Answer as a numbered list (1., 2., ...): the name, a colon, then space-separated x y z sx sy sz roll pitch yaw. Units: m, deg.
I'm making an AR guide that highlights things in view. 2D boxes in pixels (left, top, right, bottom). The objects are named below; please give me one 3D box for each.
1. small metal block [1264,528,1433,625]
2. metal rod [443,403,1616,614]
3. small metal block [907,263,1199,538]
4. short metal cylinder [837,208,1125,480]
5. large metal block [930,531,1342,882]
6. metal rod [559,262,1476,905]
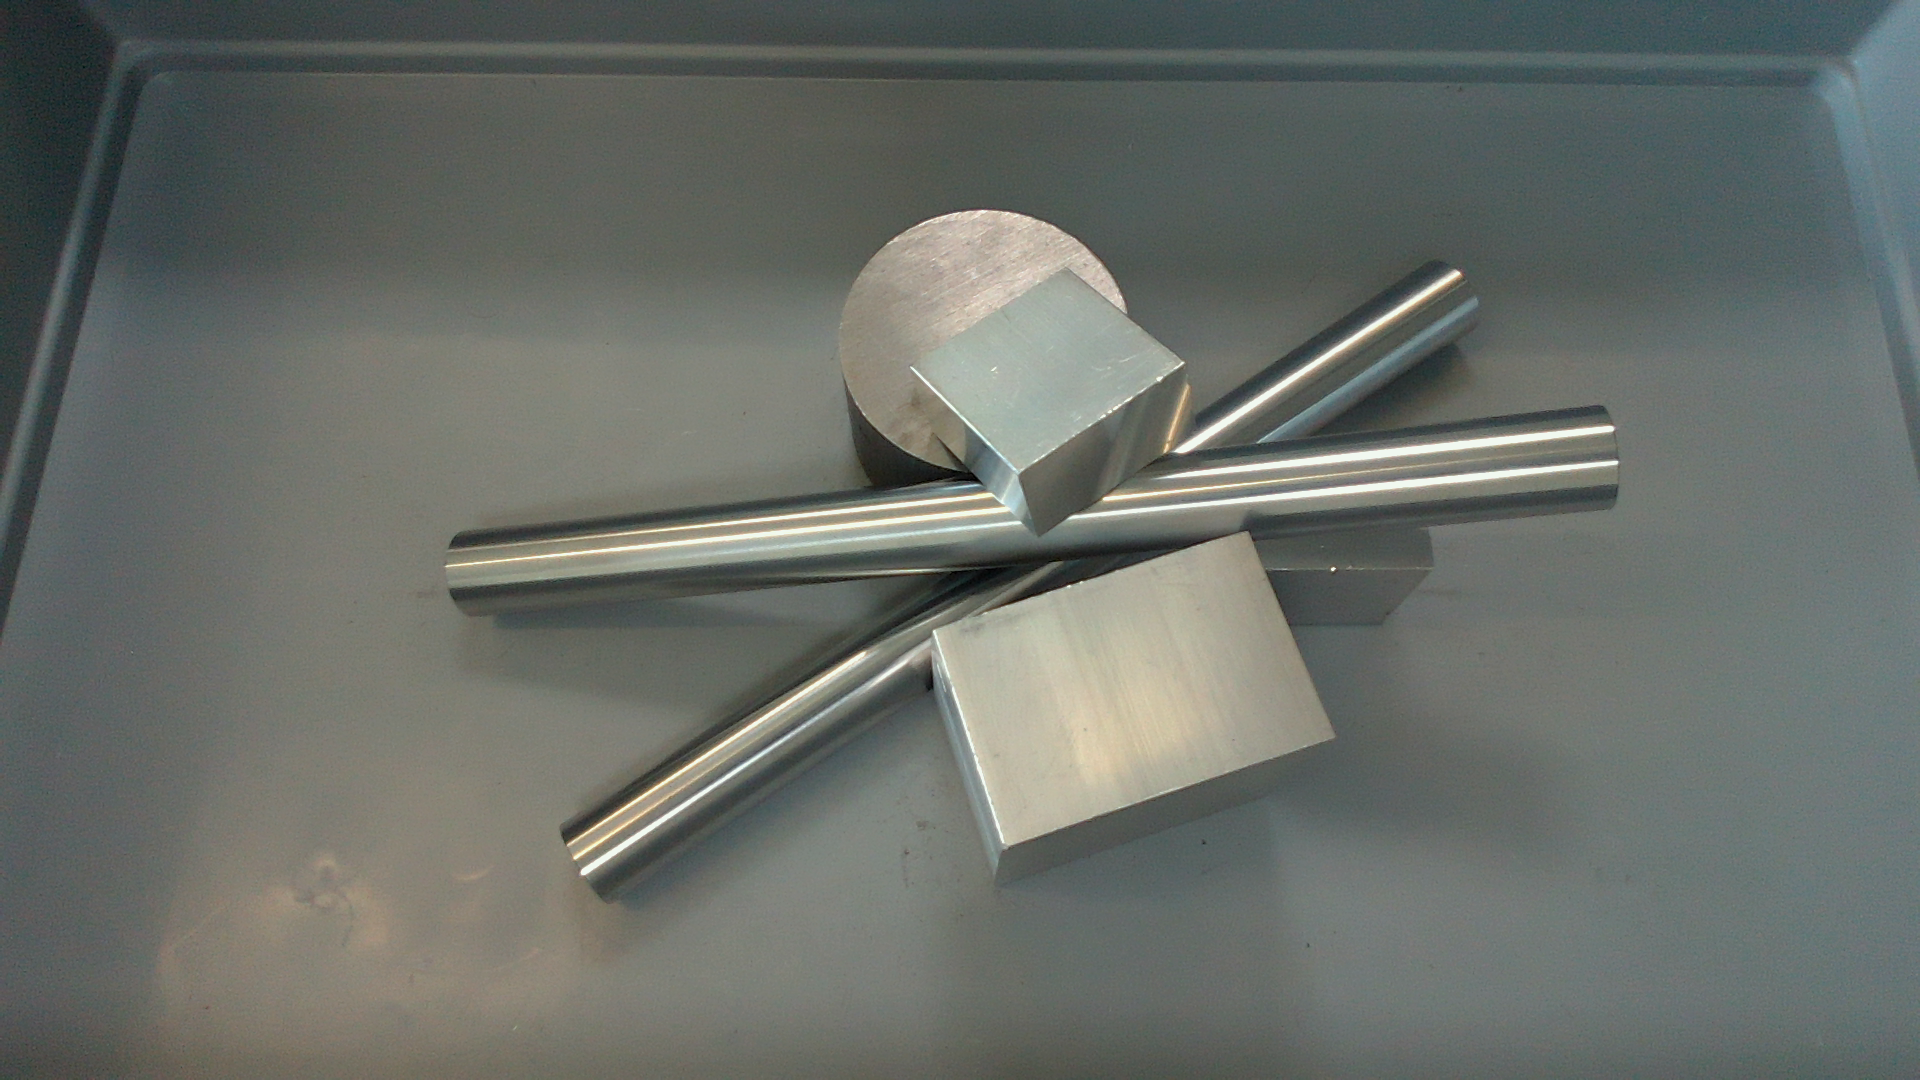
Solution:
1. small metal block: 0.096 0.004 0.379 0.050 0.050 0.025 0 70 1
2. metal rod: 0.007 -0.006 0.358 0.299 0.025 0.025 -6 69 12
3. small metal block: 0.023 -0.036 0.345 0.050 0.025 0.050 -34 51 -11
4. short metal cylinder: 0.007 -0.047 0.397 0.080 0.050 0.080 0 69 0
5. large metal block: 0.039 0.046 0.347 0.080 0.080 0.050 -17 71 -6
6. metal rod: 0.025 0.006 0.392 0.300 0.025 0.025 -33 73 -11
